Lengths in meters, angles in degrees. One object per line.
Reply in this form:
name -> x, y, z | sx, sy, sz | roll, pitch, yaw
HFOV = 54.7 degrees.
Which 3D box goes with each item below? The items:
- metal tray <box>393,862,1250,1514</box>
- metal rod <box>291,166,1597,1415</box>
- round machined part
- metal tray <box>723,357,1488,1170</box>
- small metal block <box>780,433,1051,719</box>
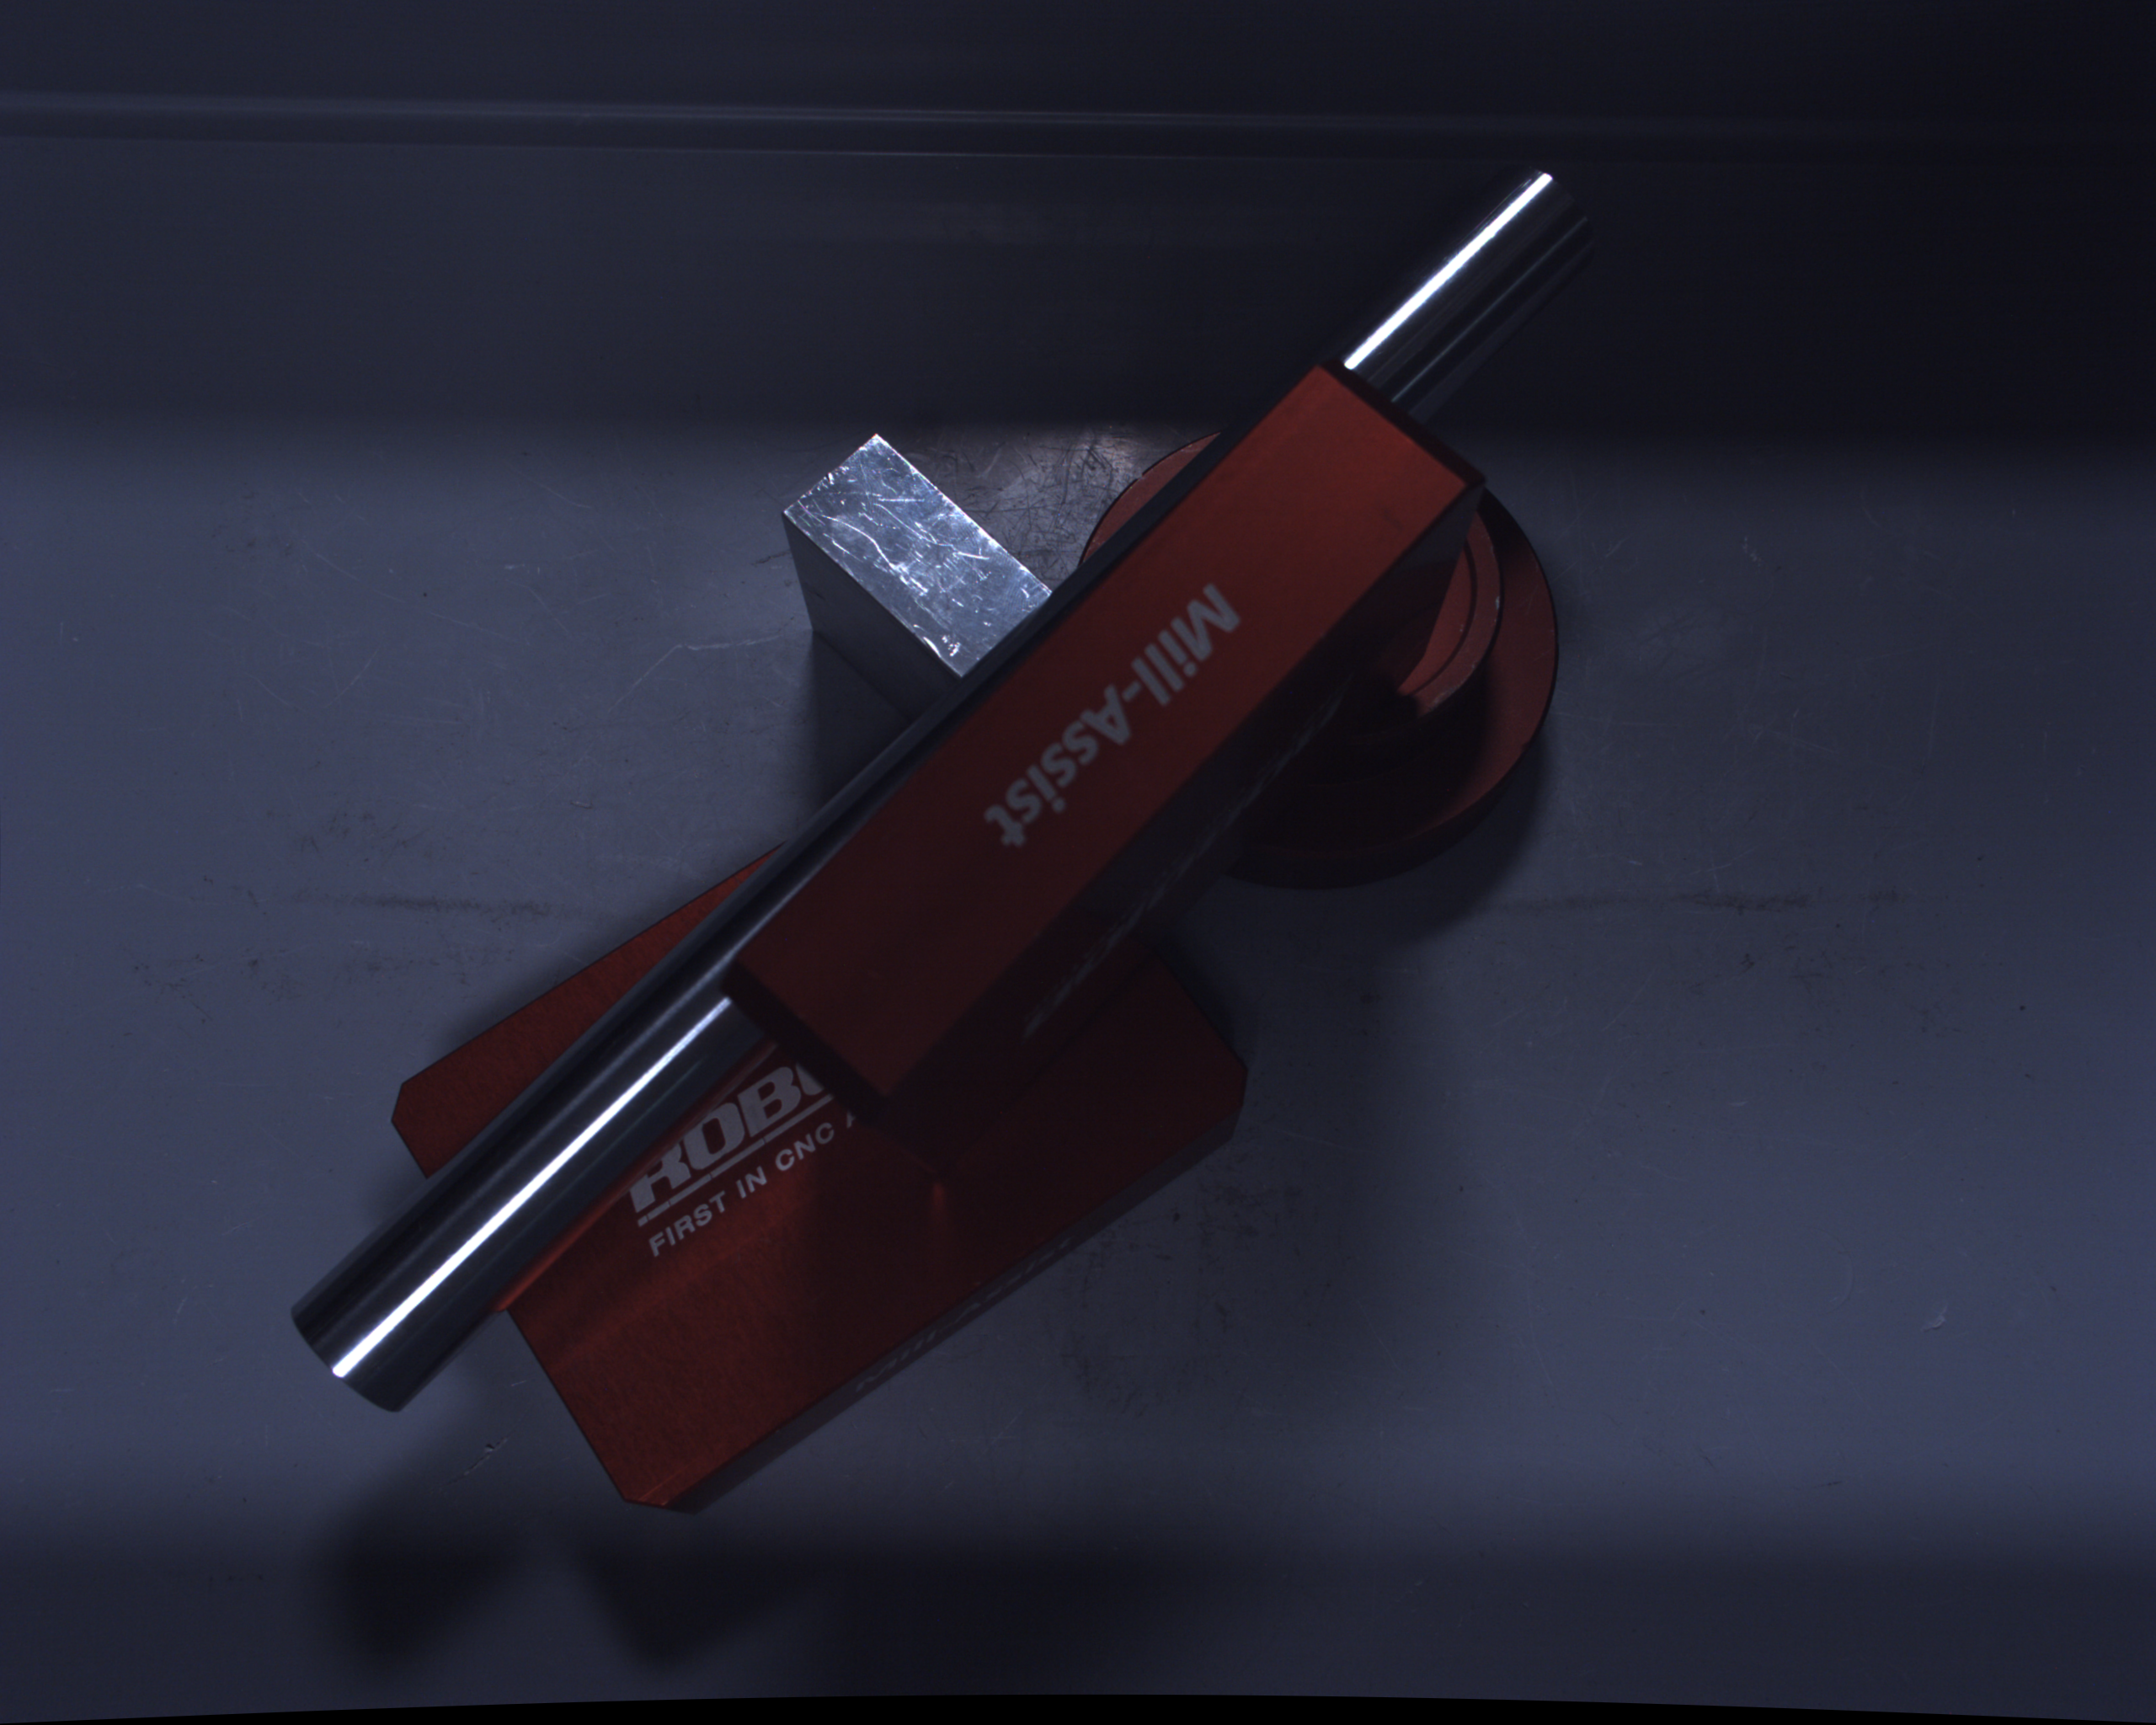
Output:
metal tray -> -0.046, 0.047, 0.388 | 0.131, 0.030, 0.090 | -33, 74, -12
metal rod -> -0.016, -0.020, 0.374 | 0.025, 0.025, 0.301 | 43, 79, 13
round machined part -> 0.047, -0.047, 0.416 | 0.099, 0.042, 0.098 | 0, 70, -1
metal tray -> 0.007, -0.011, 0.337 | 0.030, 0.090, 0.130 | 42, 82, 11
small metal block -> -0.029, -0.049, 0.412 | 0.025, 0.050, 0.050 | -43, 76, -14
